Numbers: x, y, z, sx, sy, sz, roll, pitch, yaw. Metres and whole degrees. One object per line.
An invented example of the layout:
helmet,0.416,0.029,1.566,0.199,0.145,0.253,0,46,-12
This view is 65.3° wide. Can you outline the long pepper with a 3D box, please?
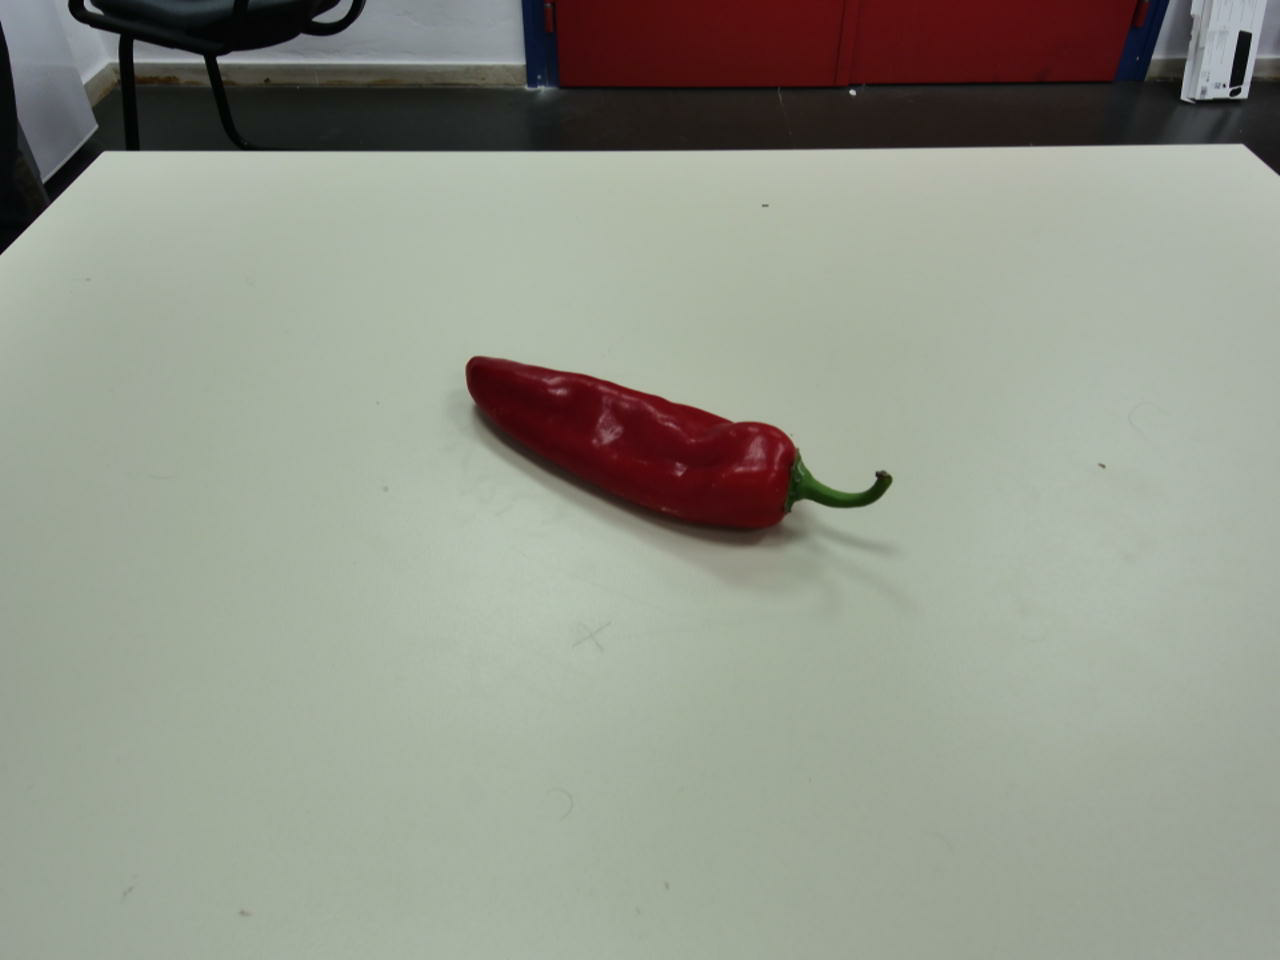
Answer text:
long pepper,0.002,-0.018,0.430,0.211,0.043,0.050,21,43,25
